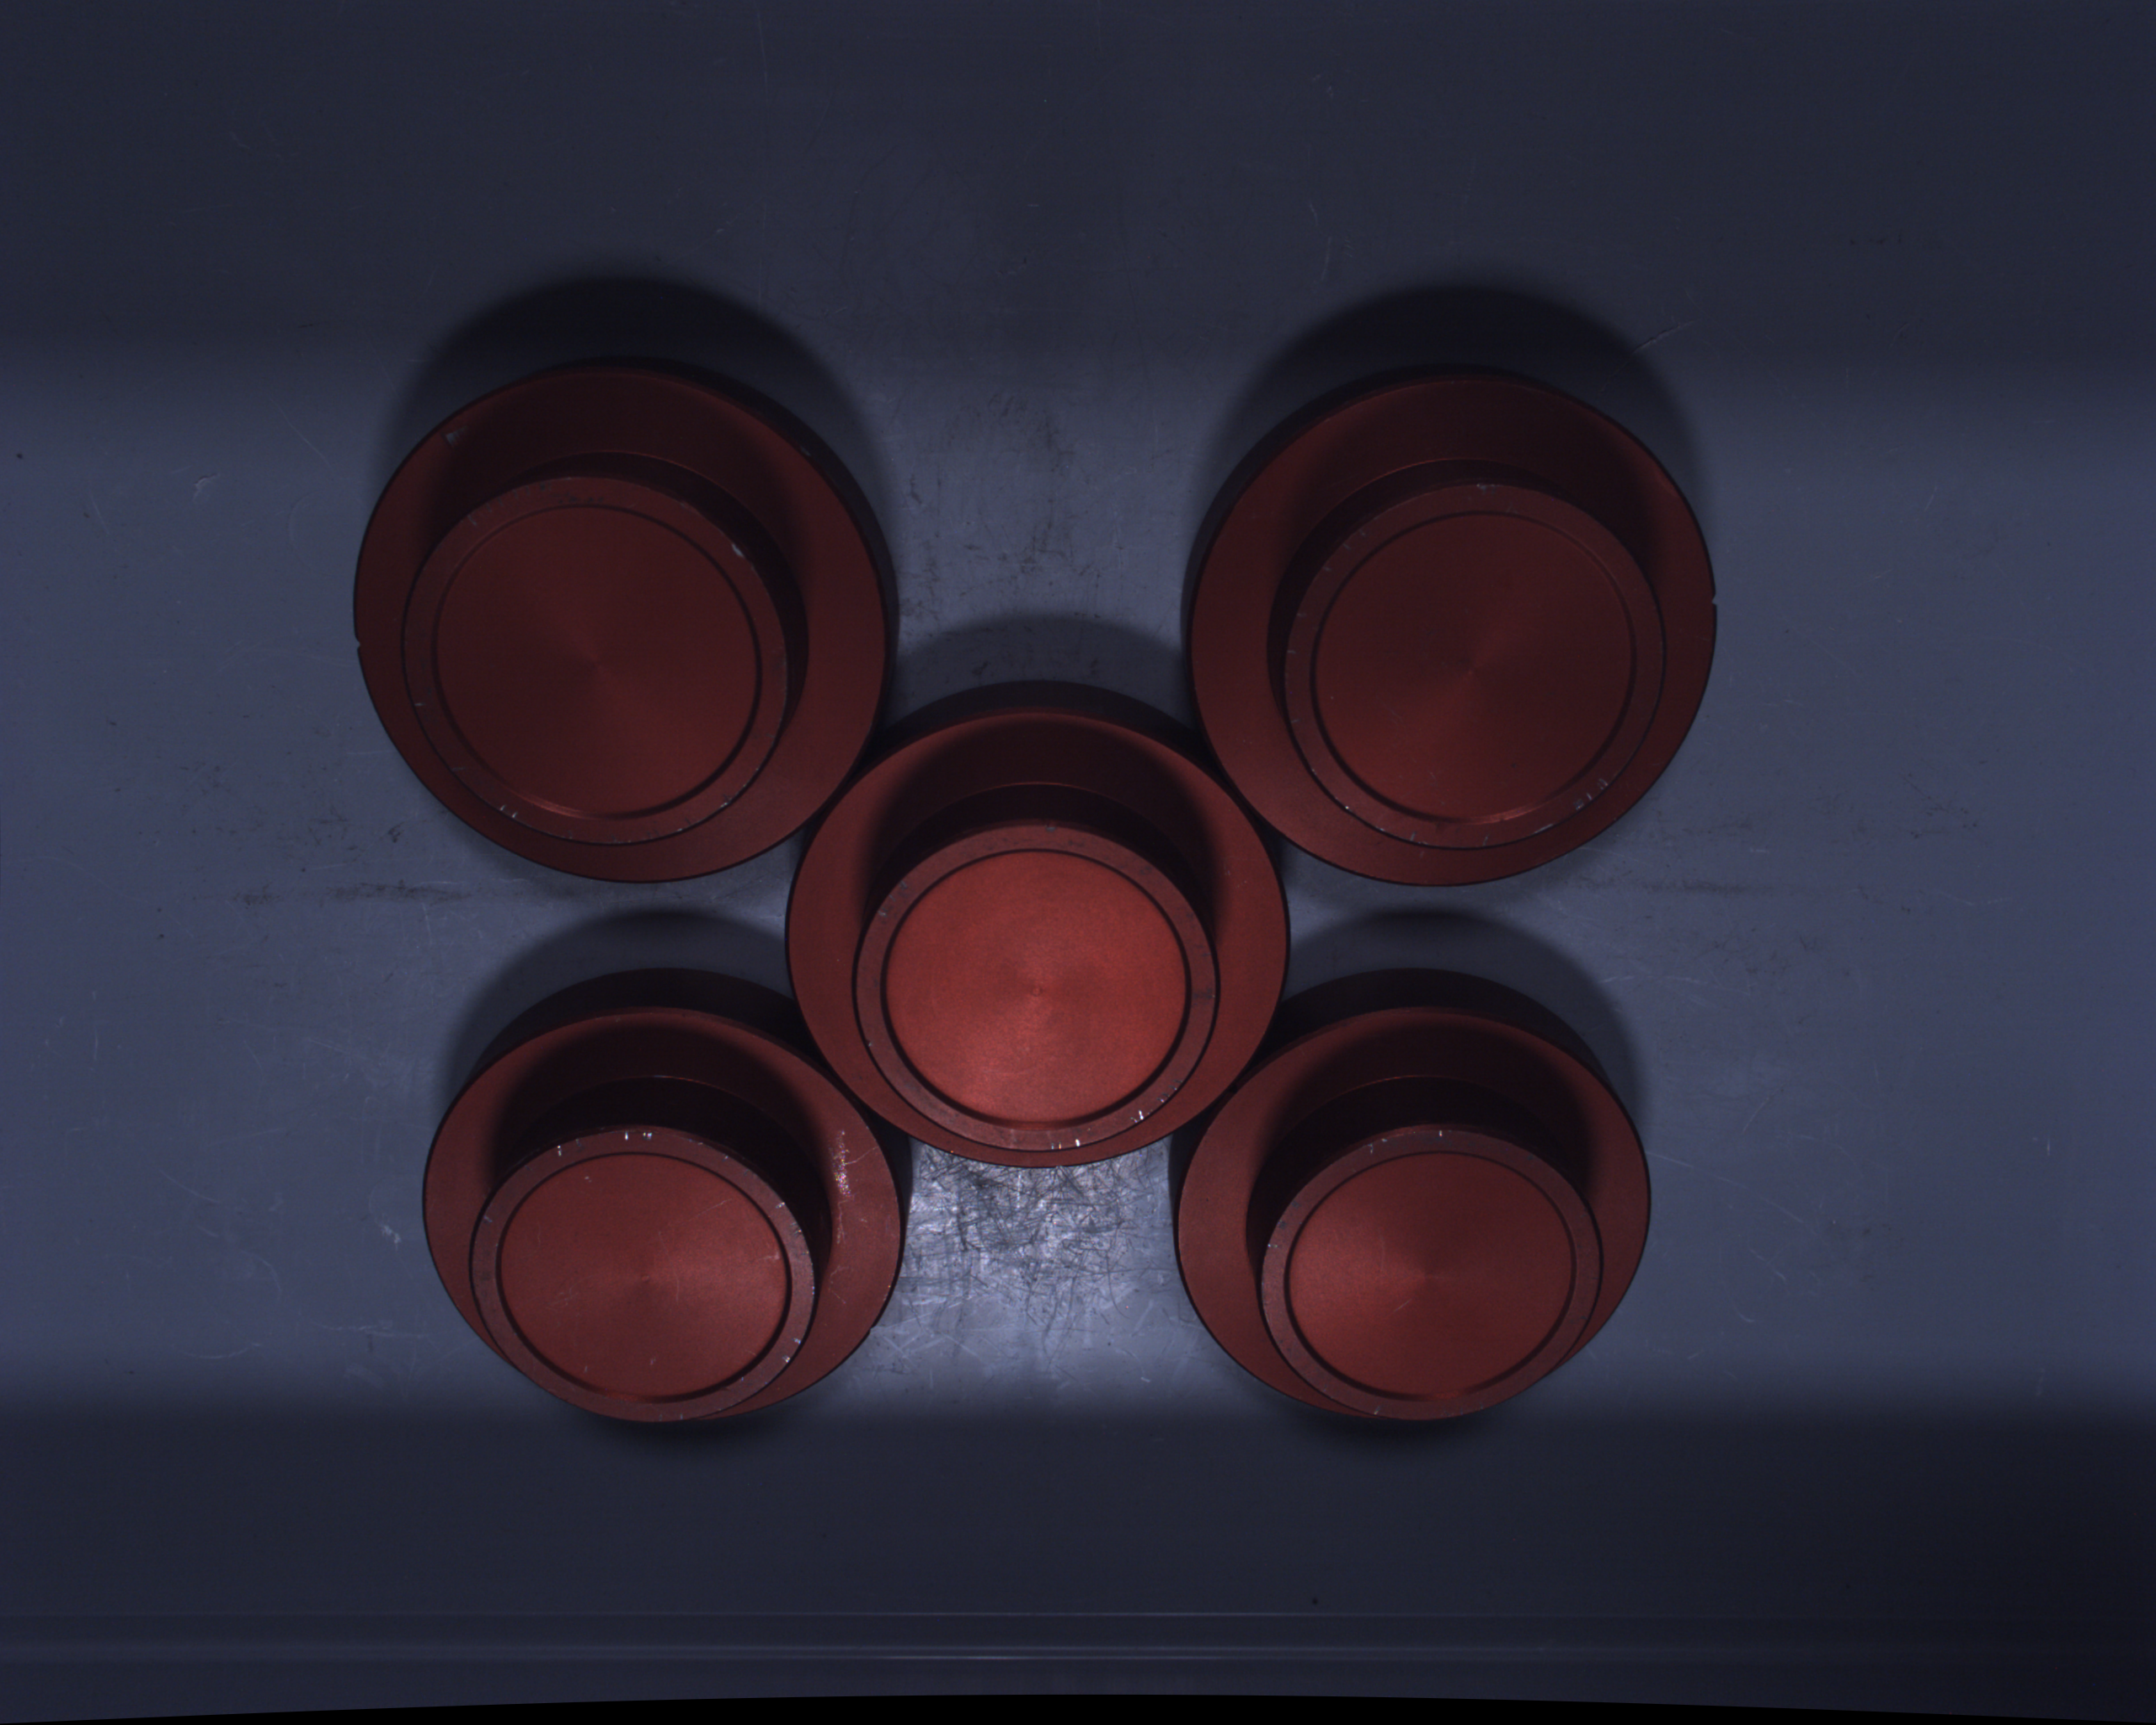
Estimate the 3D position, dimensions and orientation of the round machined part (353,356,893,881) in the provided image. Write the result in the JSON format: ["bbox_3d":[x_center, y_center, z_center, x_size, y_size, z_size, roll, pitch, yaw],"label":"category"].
[{"bbox_3d":[-0.084,-0.042,0.384,0.099,0.042,0.097,0,110,-1],"label":"round machined part"}]

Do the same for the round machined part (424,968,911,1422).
[{"bbox_3d":[-0.085,0.074,0.427,0.099,0.042,0.097,0,110,-1],"label":"round machined part"}]

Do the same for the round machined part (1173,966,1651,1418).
[{"bbox_3d":[0.069,0.074,0.429,0.099,0.042,0.097,0,110,-1],"label":"round machined part"}]

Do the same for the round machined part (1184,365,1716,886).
[{"bbox_3d":[0.069,-0.041,0.387,0.099,0.042,0.097,0,110,-1],"label":"round machined part"}]

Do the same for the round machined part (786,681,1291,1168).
[{"bbox_3d":[-0.008,0.017,0.406,0.099,0.042,0.097,0,110,-1],"label":"round machined part"}]
